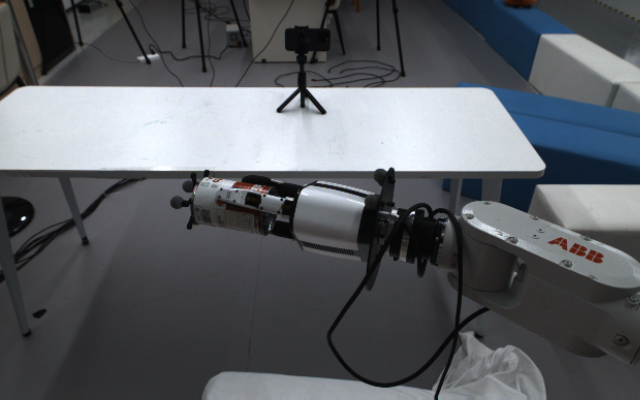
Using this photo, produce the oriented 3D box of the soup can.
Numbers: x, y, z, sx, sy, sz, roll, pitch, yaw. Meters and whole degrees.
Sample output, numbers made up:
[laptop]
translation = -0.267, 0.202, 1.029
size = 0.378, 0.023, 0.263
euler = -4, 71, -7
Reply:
[soup can]
translation = -0.113, 0.008, 0.659
size = 0.101, 0.067, 0.067
euler = 8, 35, 11
